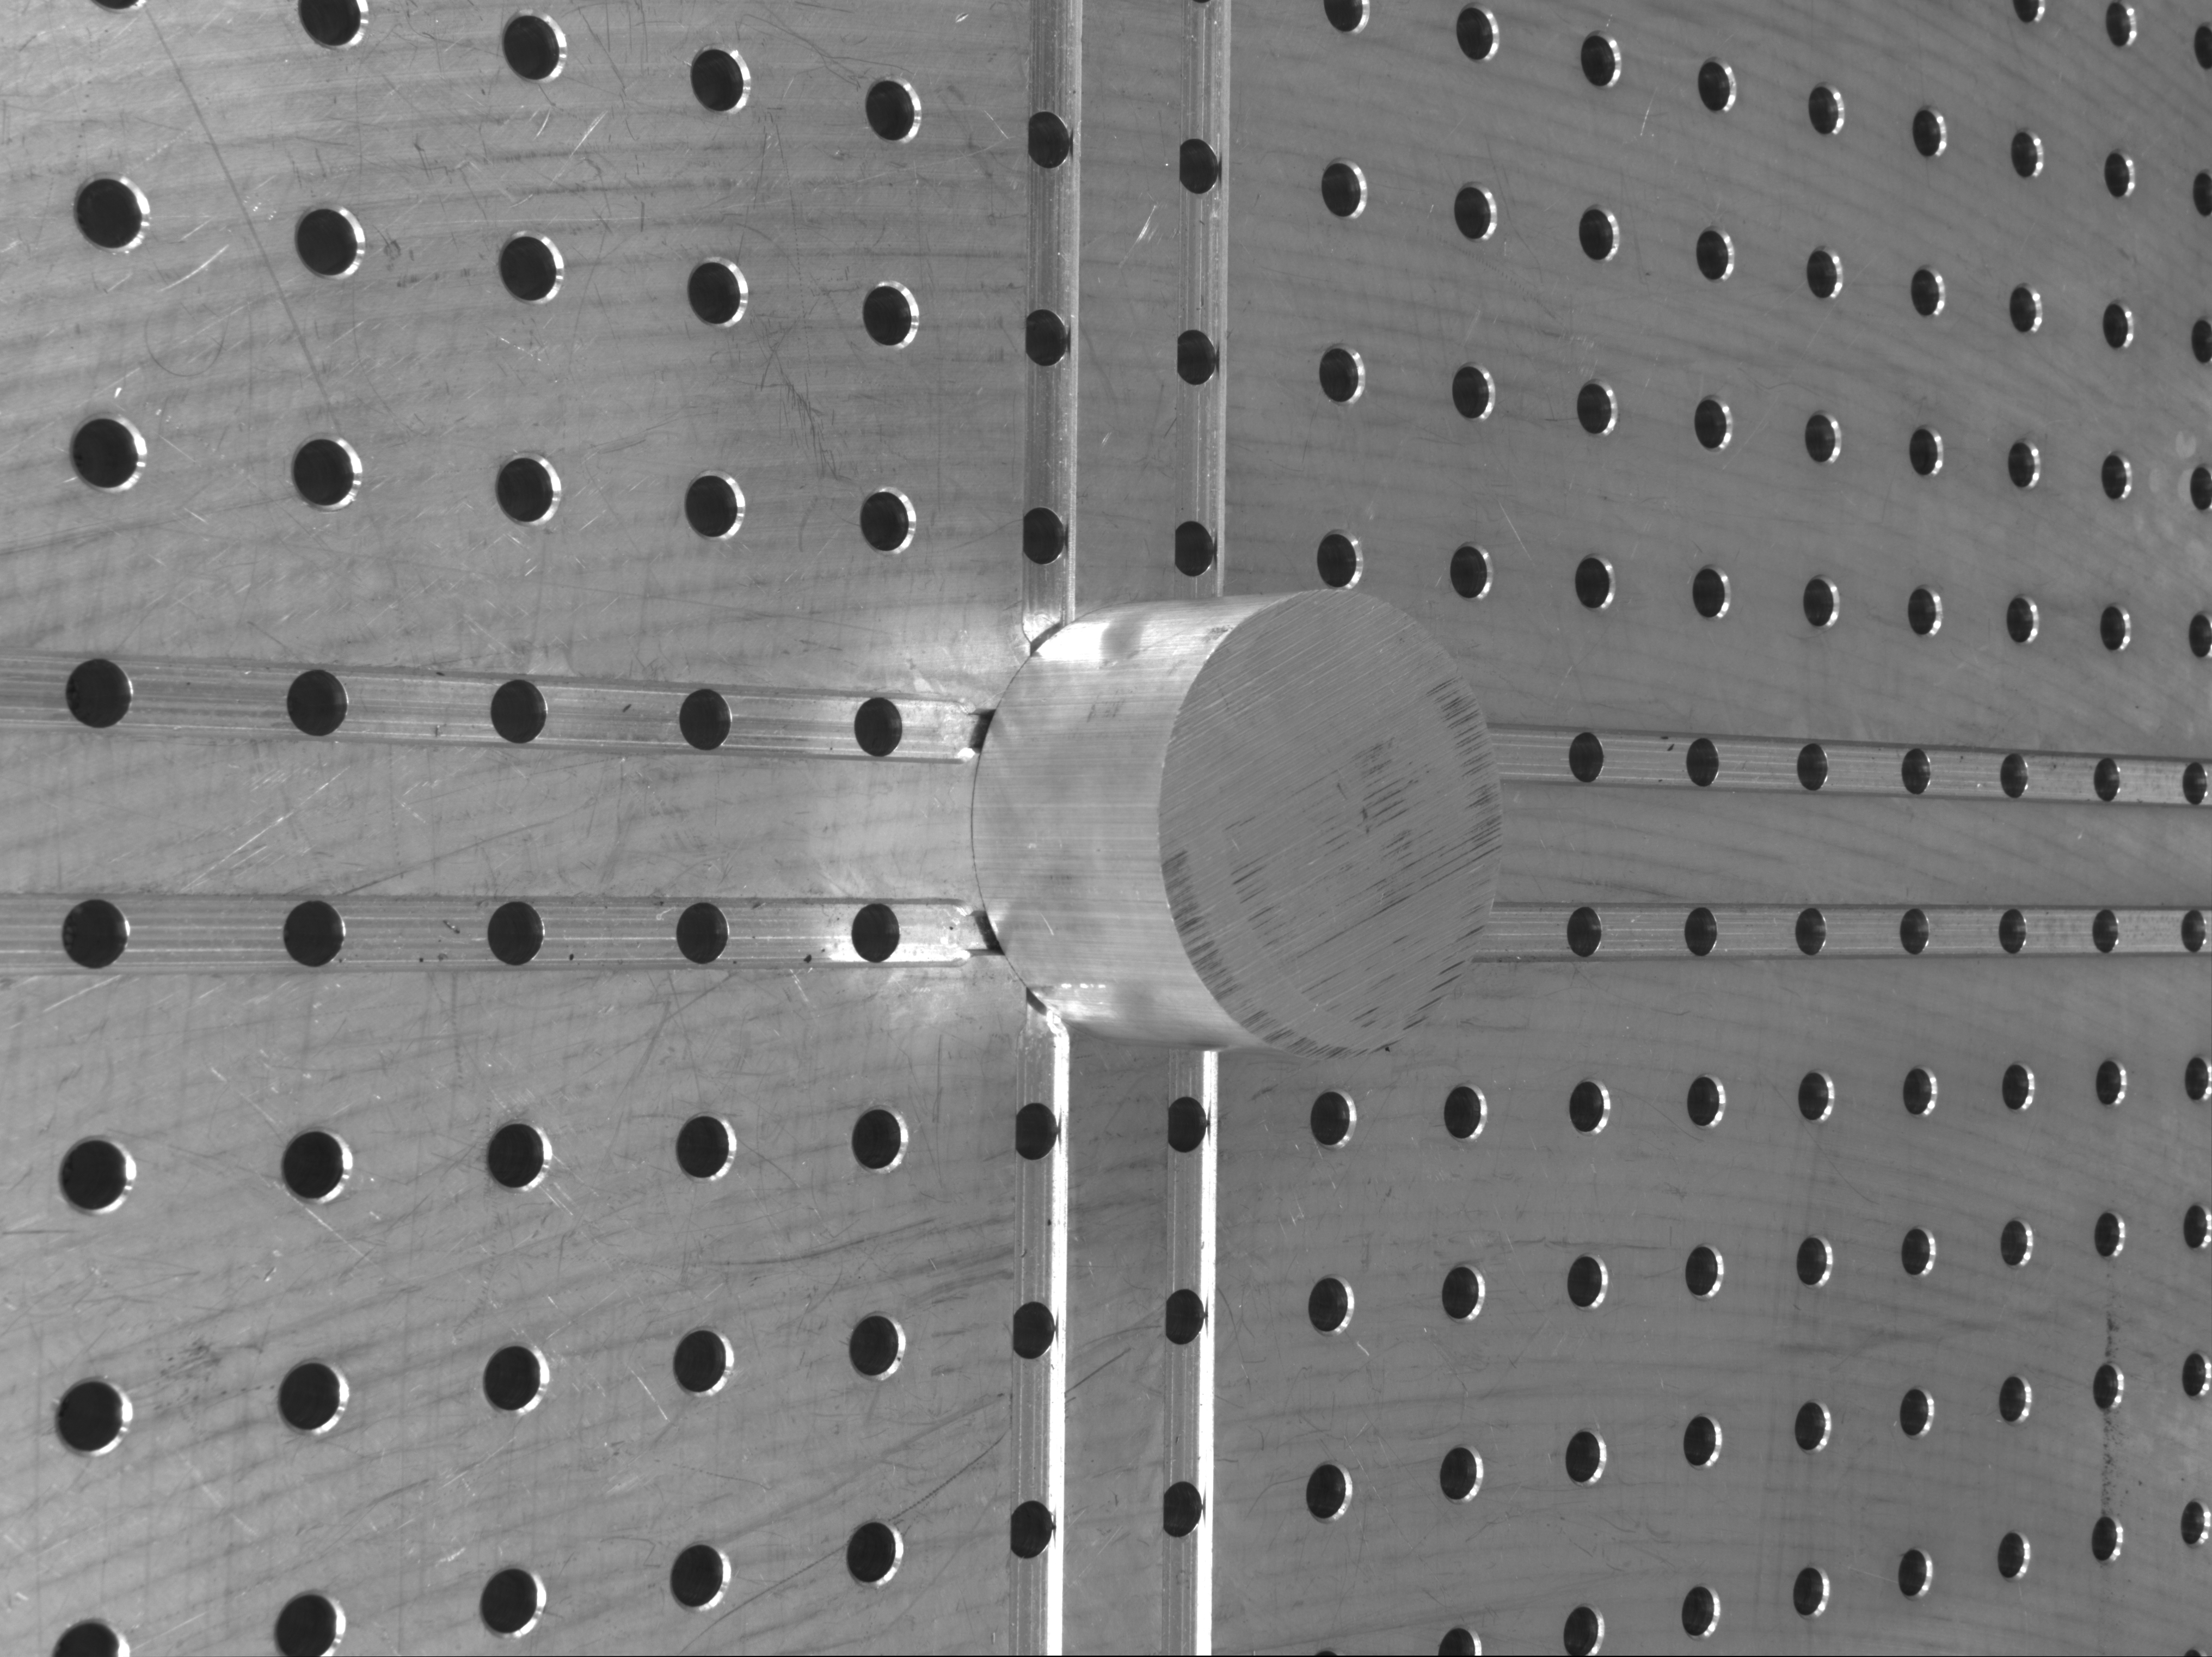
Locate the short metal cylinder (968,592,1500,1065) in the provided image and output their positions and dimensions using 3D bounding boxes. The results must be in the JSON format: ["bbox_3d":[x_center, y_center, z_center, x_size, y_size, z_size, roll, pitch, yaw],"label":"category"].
[{"bbox_3d":[0.023,0.000,0.642,0.080,0.050,0.080,0,90,-40],"label":"short metal cylinder"}]
